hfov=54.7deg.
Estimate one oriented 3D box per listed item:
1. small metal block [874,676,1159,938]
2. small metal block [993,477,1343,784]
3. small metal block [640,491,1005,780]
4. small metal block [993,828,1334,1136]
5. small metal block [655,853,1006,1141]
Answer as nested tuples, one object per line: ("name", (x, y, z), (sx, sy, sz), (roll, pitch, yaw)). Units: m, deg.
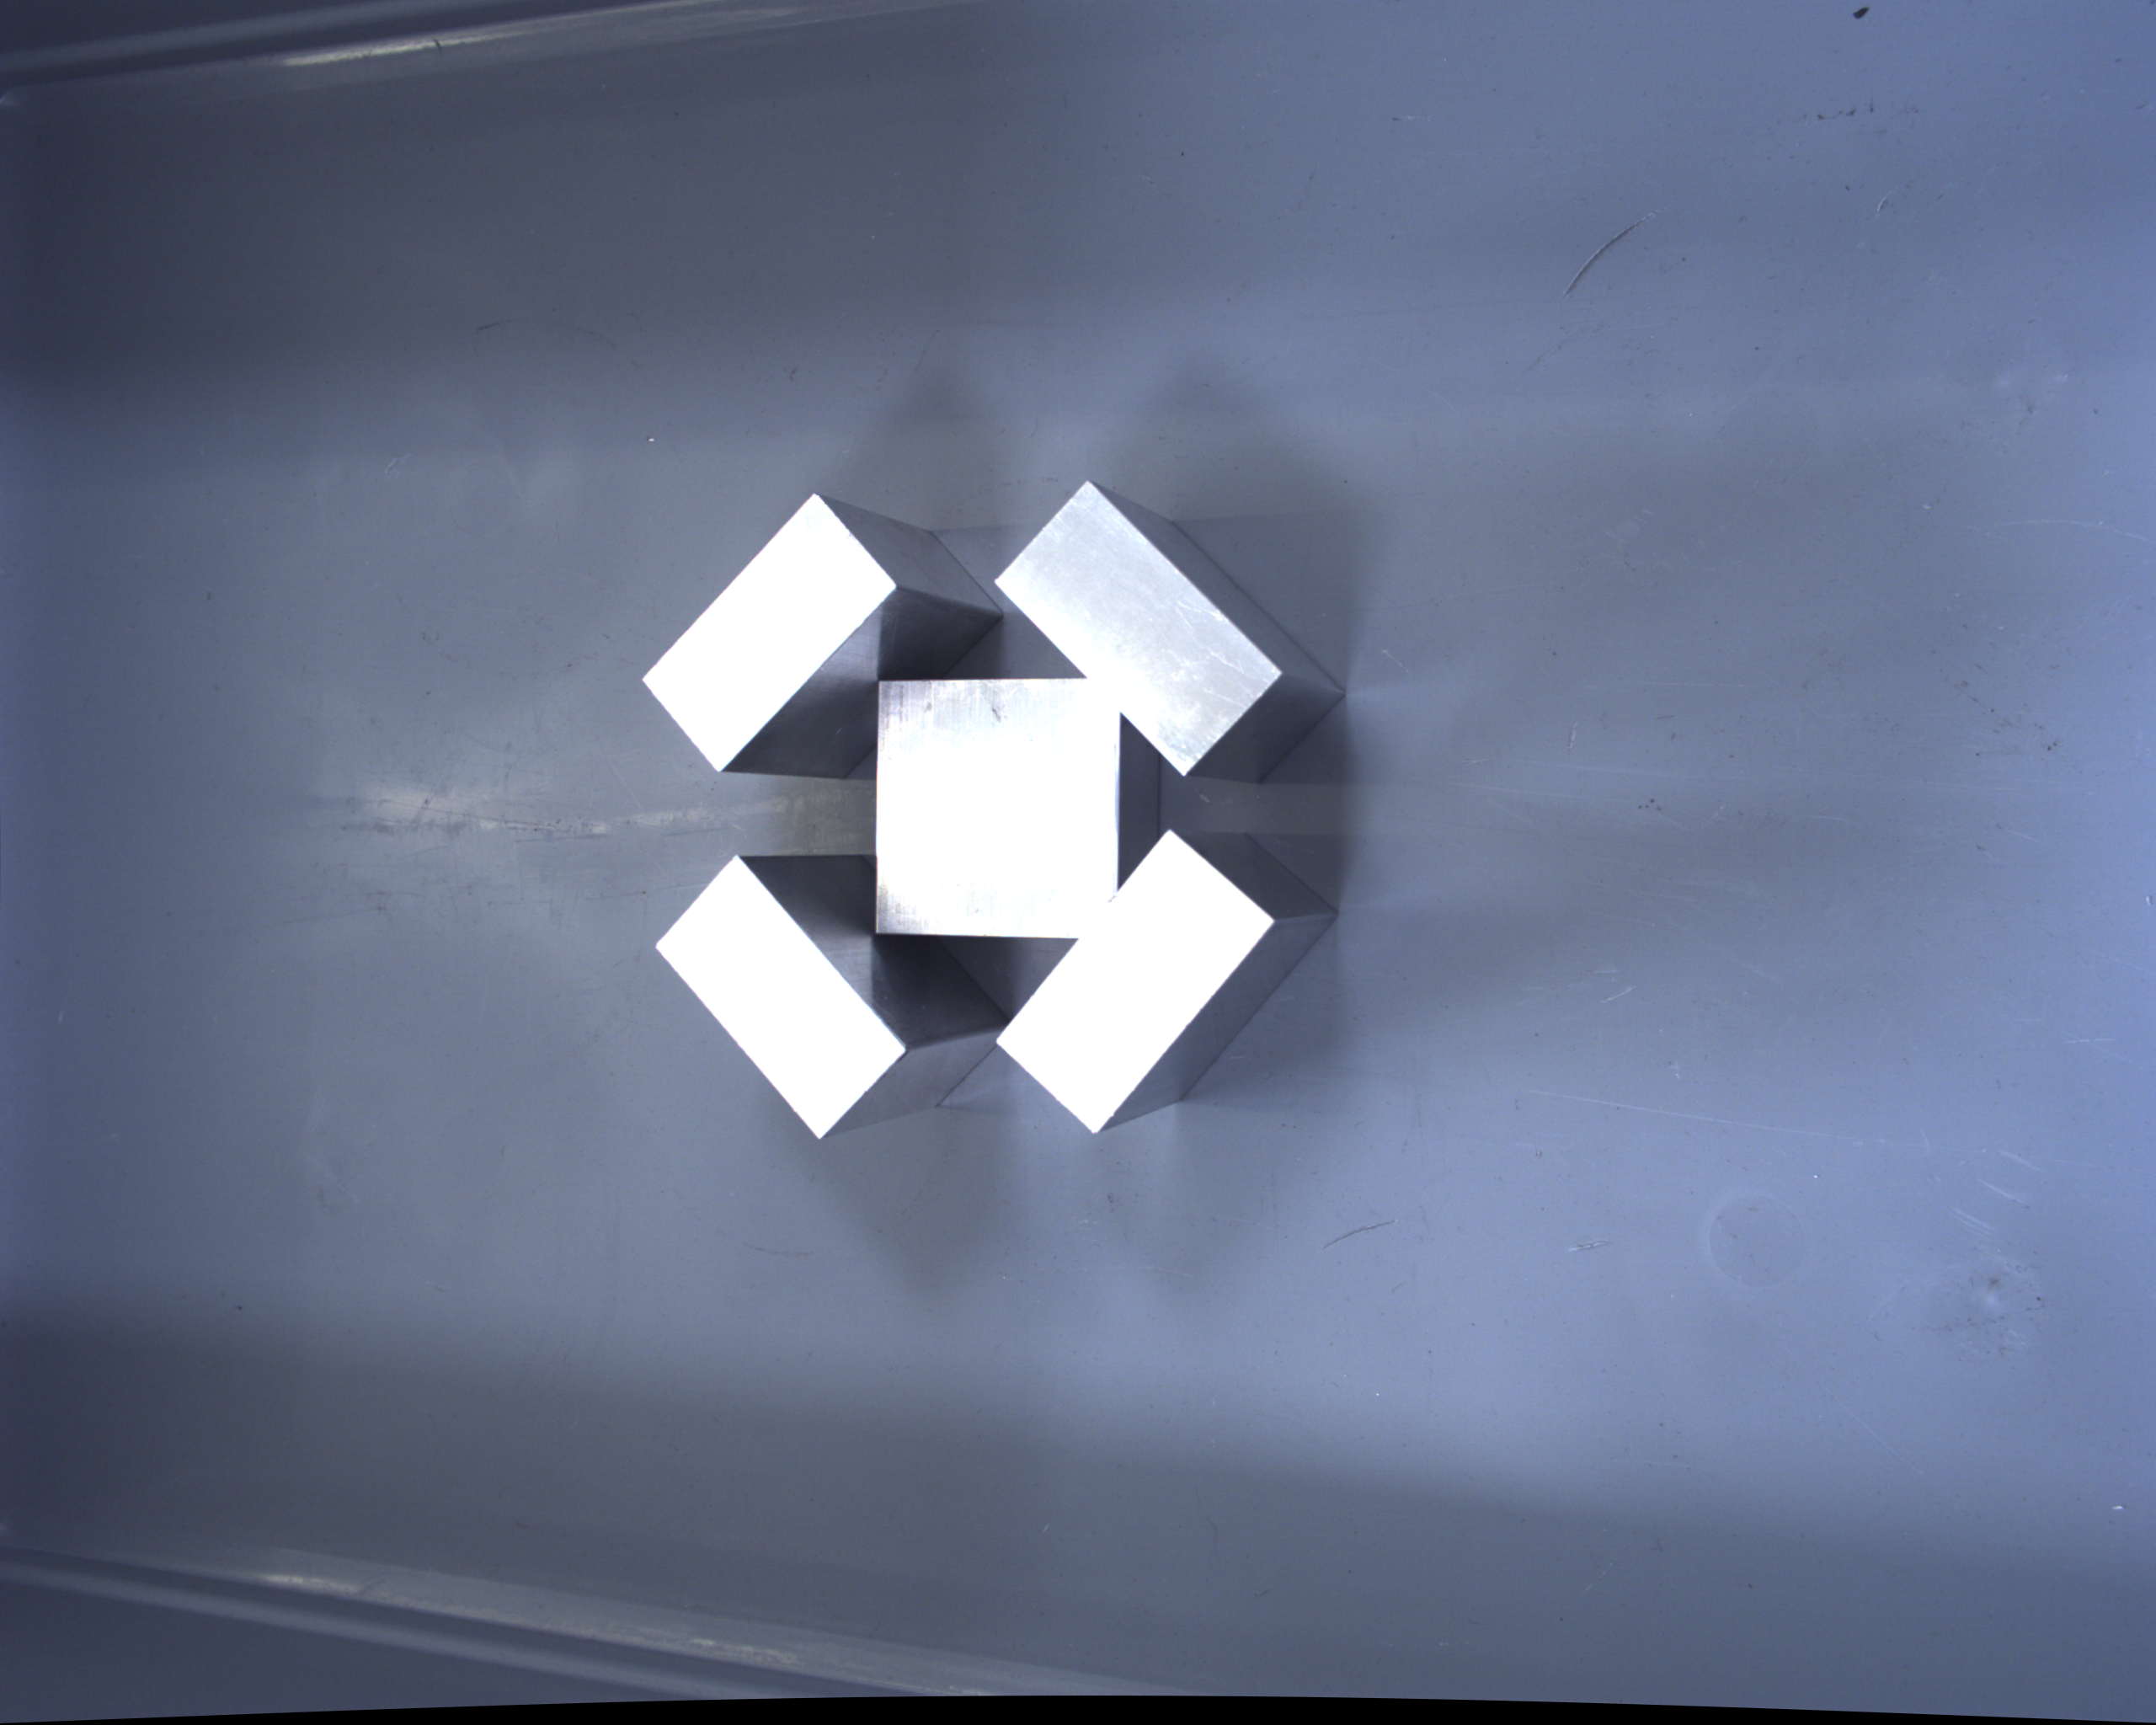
("small metal block", (-0.012, -0.011, 0.412), (0.050, 0.025, 0.050), (1, 90, 20))
("small metal block", (0.018, -0.042, 0.388), (0.025, 0.050, 0.050), (-46, 77, 13))
("small metal block", (-0.049, -0.043, 0.412), (0.050, 0.050, 0.025), (-44, 76, 15))
("small metal block", (0.017, 0.021, 0.388), (0.025, 0.050, 0.050), (42, 102, 14))
("small metal block", (-0.047, 0.025, 0.412), (0.050, 0.050, 0.025), (47, 105, 14))
